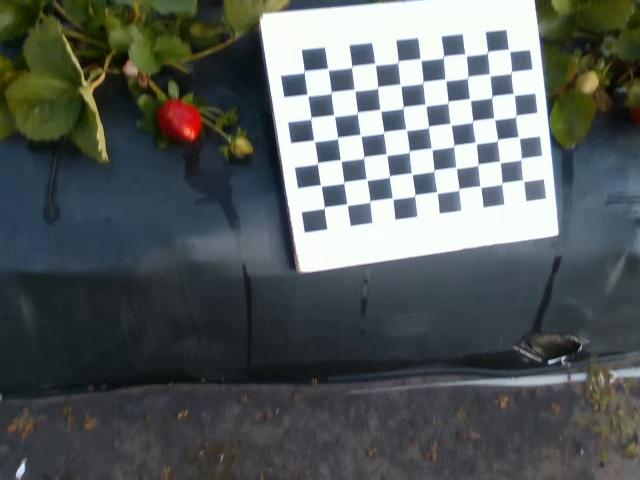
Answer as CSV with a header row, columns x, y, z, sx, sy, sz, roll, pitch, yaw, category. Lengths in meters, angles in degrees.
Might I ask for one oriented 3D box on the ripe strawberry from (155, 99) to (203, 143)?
x,y,z,sx,sy,sz,roll,pitch,yaw,category
-0.135,-0.113,0.464,0.043,0.052,0.057,-35,38,3,ripe strawberry
